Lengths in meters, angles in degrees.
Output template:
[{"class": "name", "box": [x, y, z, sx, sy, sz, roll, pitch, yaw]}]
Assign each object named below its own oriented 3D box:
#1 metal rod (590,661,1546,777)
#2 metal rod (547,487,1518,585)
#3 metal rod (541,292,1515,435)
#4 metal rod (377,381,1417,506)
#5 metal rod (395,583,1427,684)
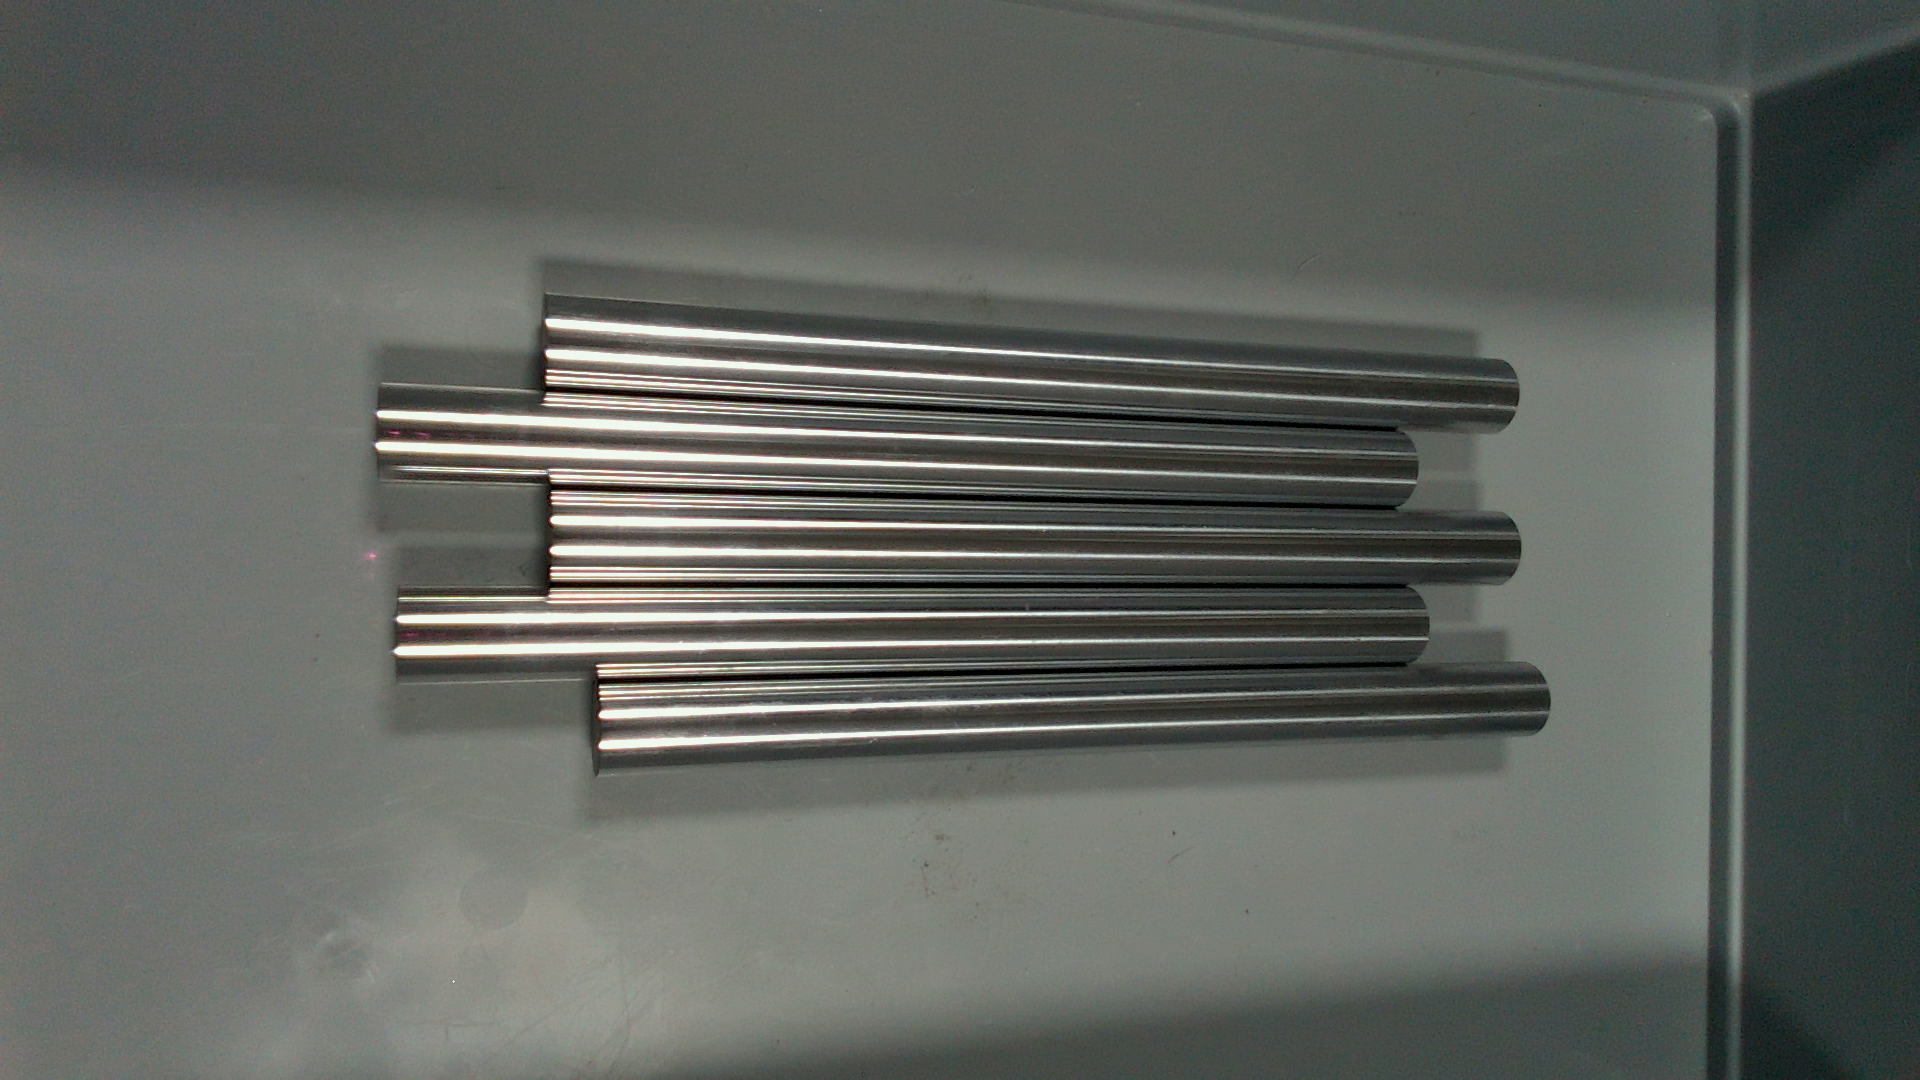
[{"class": "metal rod", "box": [0.046, 0.051, 0.409, 0.301, 0.025, 0.025, 1, 90, -20]}, {"class": "metal rod", "box": [0.035, 0.001, 0.405, 0.301, 0.025, 0.025, 1, 90, -20]}, {"class": "metal rod", "box": [0.034, -0.049, 0.405, 0.301, 0.025, 0.025, 1, 90, -20]}, {"class": "metal rod", "box": [-0.002, -0.025, 0.392, 0.301, 0.025, 0.025, 1, 90, -20]}, {"class": "metal rod", "box": [0.002, 0.025, 0.393, 0.301, 0.025, 0.025, 1, 90, -20]}]
